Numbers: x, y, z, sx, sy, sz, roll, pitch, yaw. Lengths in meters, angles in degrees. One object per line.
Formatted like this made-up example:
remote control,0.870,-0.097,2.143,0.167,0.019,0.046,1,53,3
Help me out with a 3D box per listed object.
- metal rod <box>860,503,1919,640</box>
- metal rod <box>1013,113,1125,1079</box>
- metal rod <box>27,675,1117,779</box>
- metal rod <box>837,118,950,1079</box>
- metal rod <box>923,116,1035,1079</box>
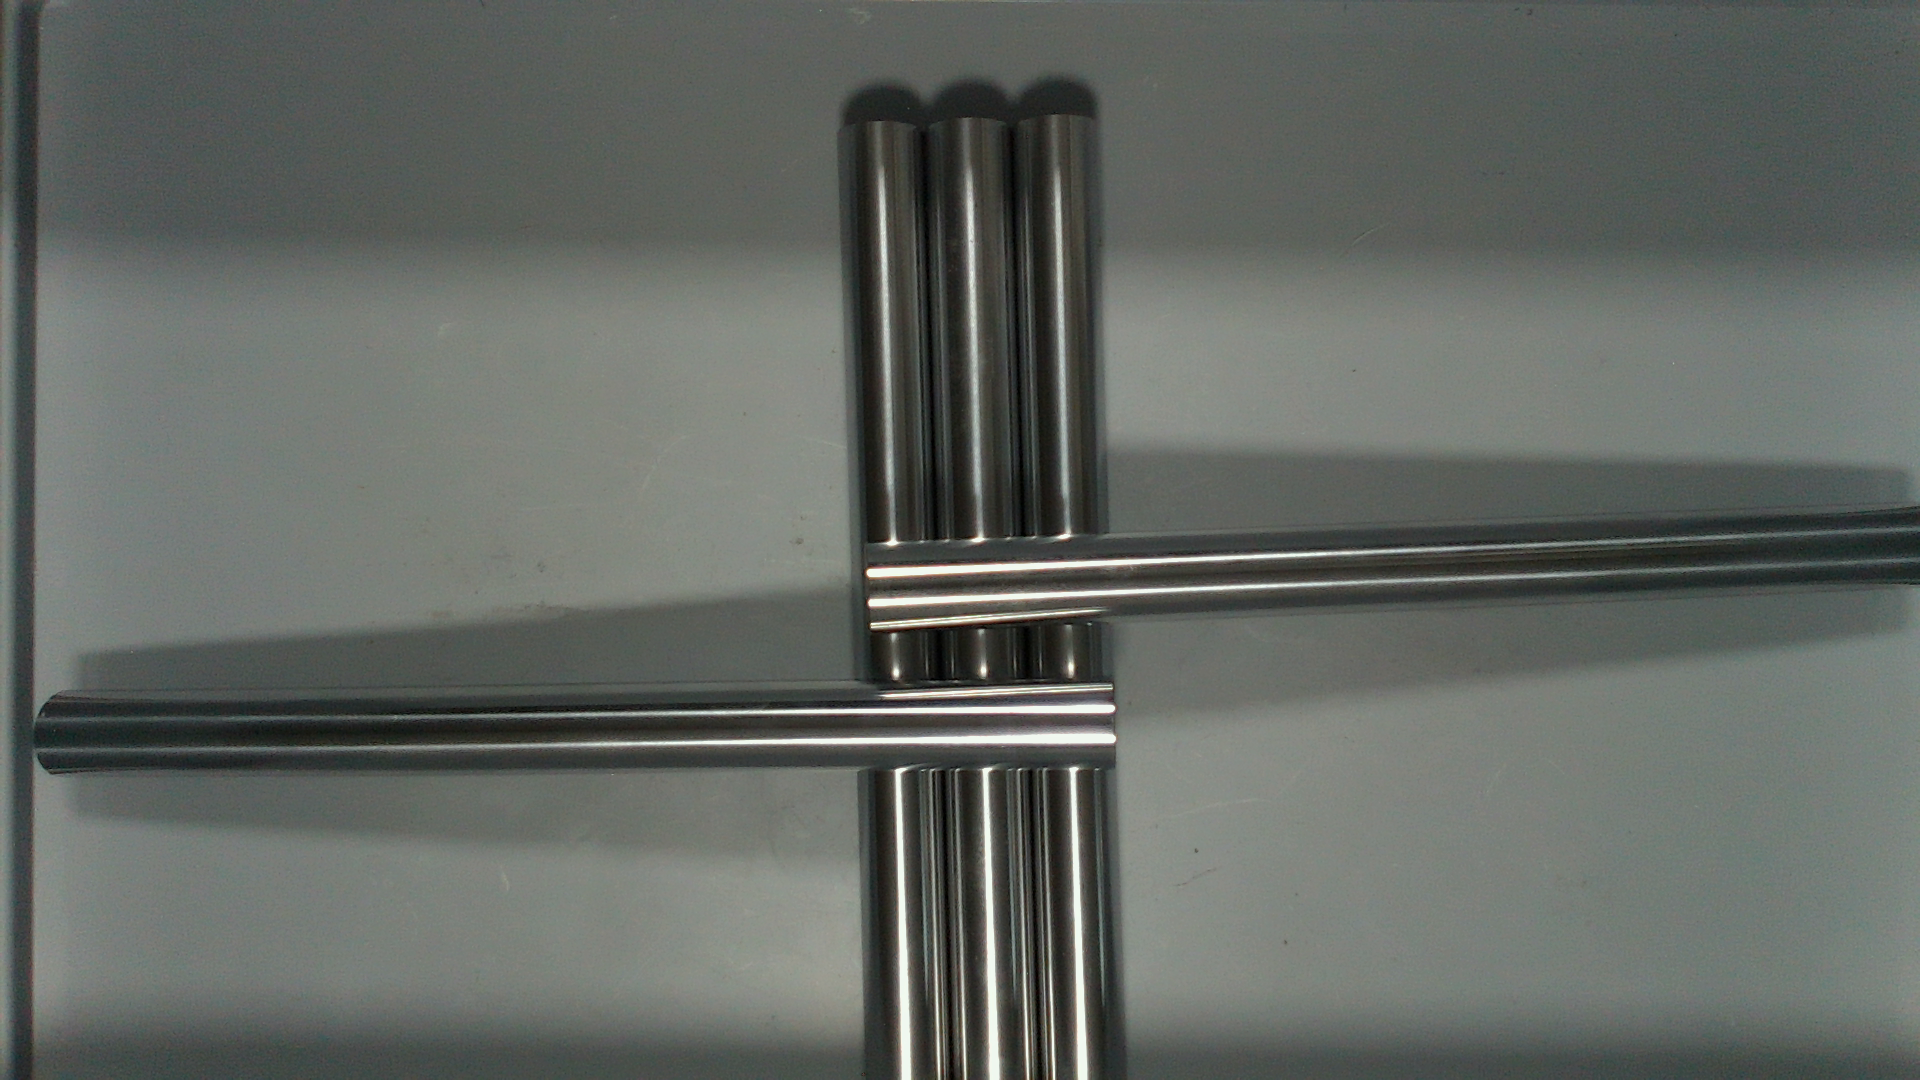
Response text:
metal rod,0.123,0.008,0.378,0.300,0.025,0.025,-2,90,-6
metal rod,0.032,0.031,0.395,0.025,0.025,0.300,-2,90,0
metal rod,-0.108,0.052,0.378,0.300,0.025,0.025,-1,90,6
metal rod,-0.018,0.033,0.395,0.025,0.025,0.300,-2,90,0
metal rod,0.006,0.032,0.395,0.025,0.025,0.300,-2,90,0
